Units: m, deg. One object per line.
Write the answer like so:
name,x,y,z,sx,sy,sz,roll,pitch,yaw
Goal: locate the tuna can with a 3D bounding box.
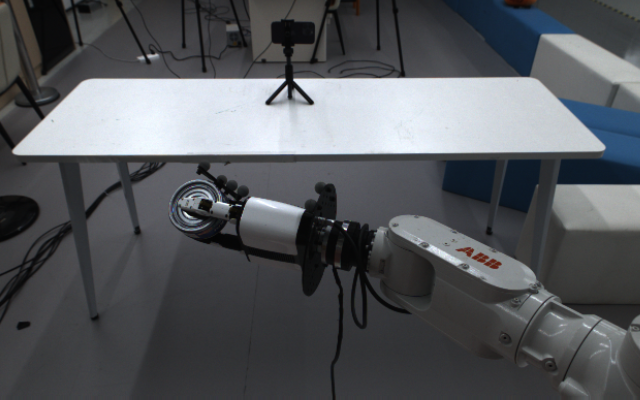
tuna can,-0.179,0.014,0.718,0.085,0.034,0.085,-3,69,9
